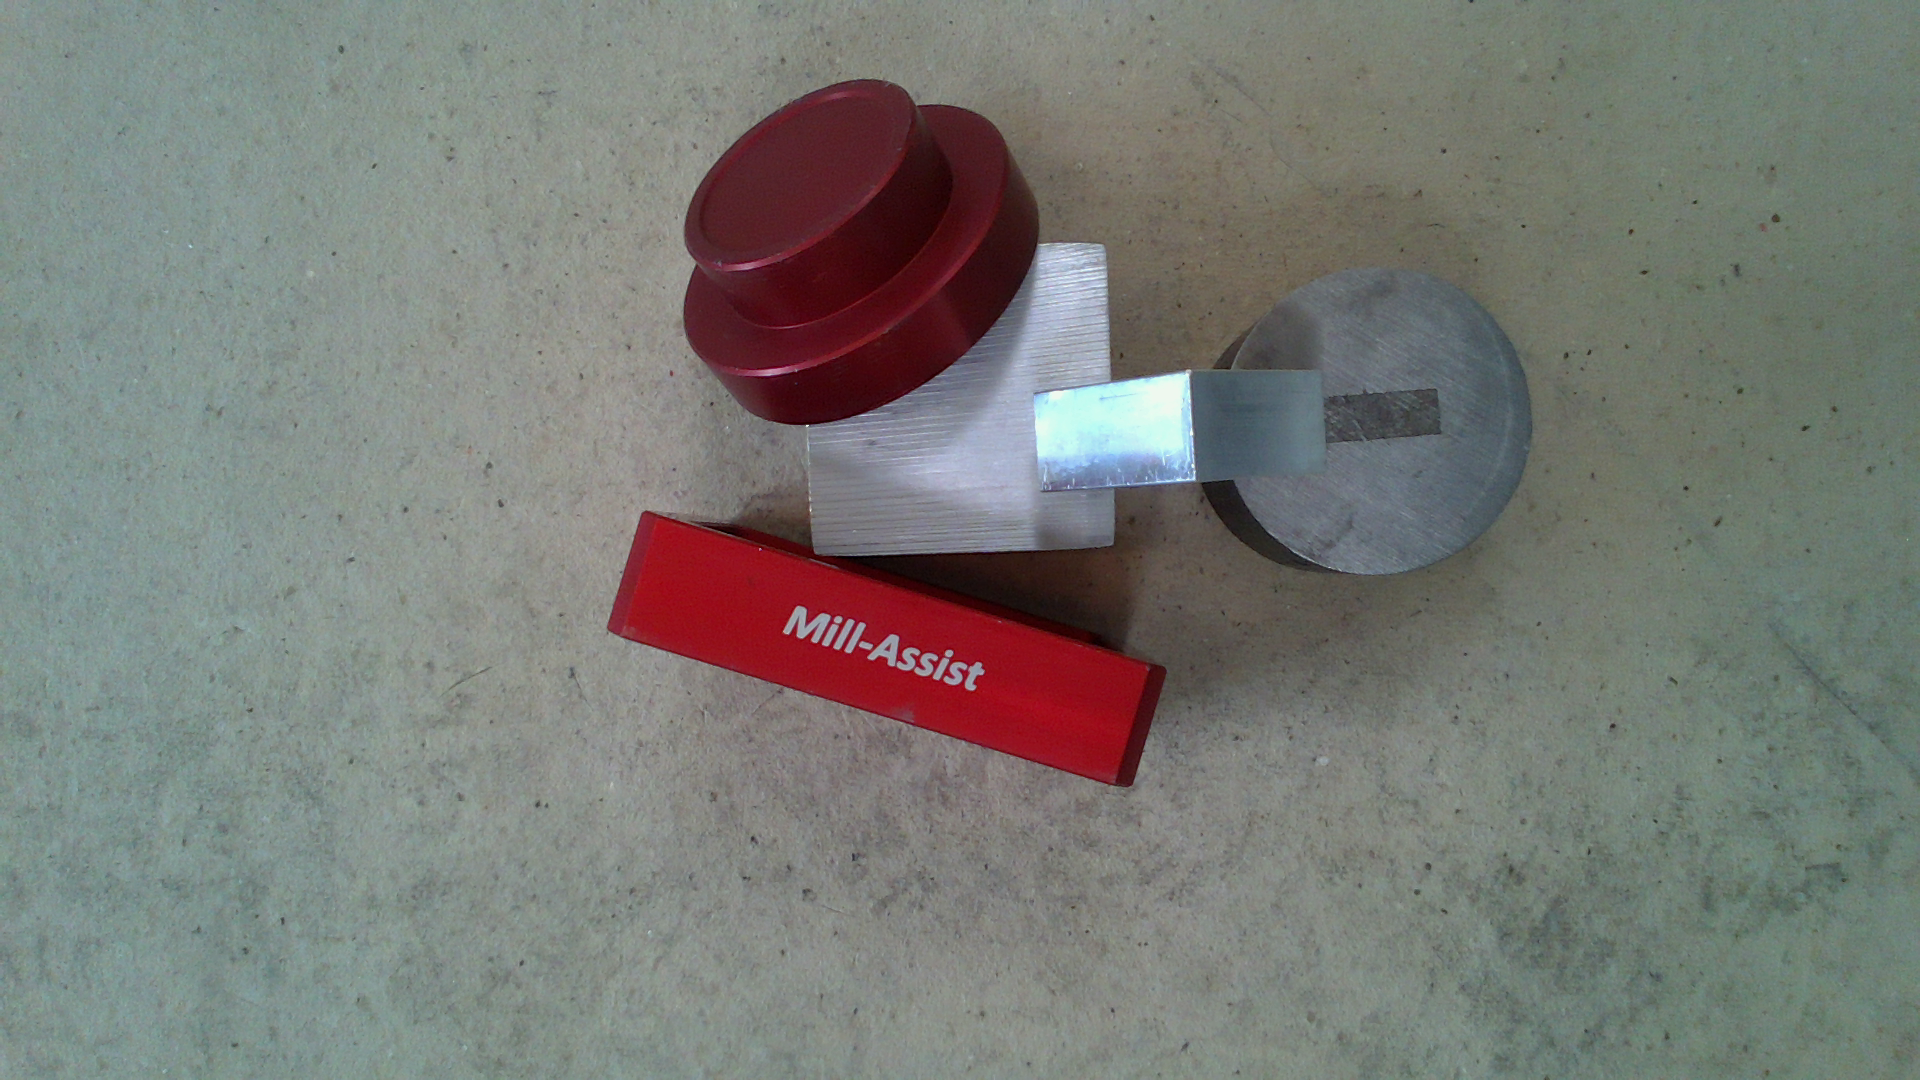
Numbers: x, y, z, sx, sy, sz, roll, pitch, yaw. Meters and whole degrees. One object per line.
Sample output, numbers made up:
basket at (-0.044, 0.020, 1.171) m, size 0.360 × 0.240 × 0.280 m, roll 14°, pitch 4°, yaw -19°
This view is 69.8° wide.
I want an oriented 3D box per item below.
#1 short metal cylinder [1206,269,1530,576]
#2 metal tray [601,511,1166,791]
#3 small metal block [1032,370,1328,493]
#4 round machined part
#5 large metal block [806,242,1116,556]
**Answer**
short metal cylinder at (0.109, -0.031, 0.384) m, size 0.080 × 0.050 × 0.080 m, roll 0°, pitch 90°, yaw 0°
metal tray at (-0.018, 0.026, 0.362) m, size 0.130 × 0.090 × 0.030 m, roll 17°, pitch 90°, yaw 0°
small metal block at (0.054, -0.027, 0.337) m, size 0.050 × 0.050 × 0.025 m, roll -6°, pitch 93°, yaw -41°
round machined part at (-0.032, -0.081, 0.358) m, size 0.098 × 0.098 × 0.042 m, roll -37°, pitch 134°, yaw 0°
large metal block at (0.000, -0.037, 0.384) m, size 0.080 × 0.050 × 0.080 m, roll -2°, pitch 90°, yaw 0°
